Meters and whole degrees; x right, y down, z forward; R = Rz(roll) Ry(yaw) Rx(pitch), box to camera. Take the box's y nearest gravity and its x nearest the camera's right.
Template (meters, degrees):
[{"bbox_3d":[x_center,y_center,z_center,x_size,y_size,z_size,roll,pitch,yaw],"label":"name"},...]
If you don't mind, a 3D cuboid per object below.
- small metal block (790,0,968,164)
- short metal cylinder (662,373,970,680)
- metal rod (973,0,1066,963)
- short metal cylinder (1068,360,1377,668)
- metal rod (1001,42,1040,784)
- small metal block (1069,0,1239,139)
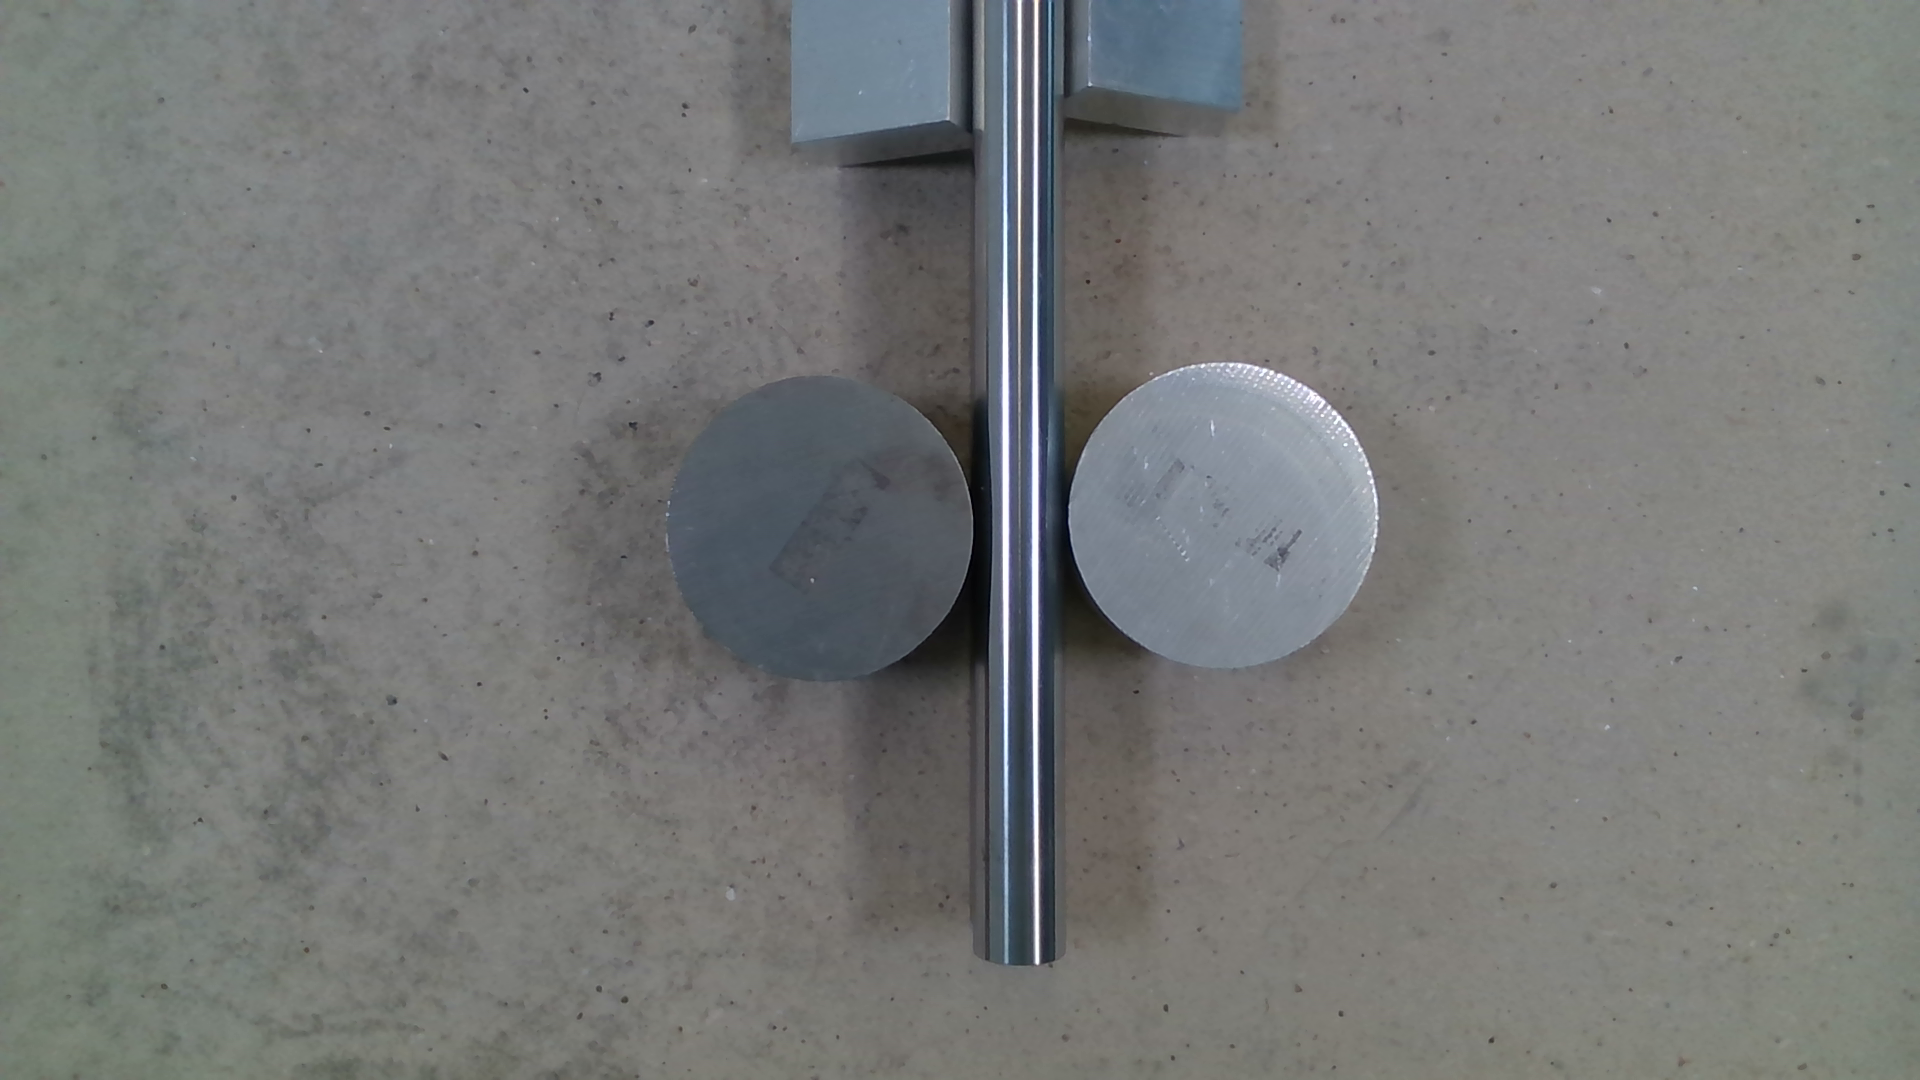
[{"bbox_3d":[-0.019,-0.136,0.385,0.050,0.025,0.050,1,91,27],"label":"small metal block"},{"bbox_3d":[-0.037,-0.003,0.383,0.080,0.050,0.080,0,90,0],"label":"short metal cylinder"},{"bbox_3d":[0.016,-0.040,0.371,0.025,0.025,0.300,0,90,0],"label":"metal rod"},{"bbox_3d":[0.069,-0.007,0.383,0.080,0.050,0.080,0,90,0],"label":"short metal cylinder"},{"bbox_3d":[0.015,-0.040,0.395,0.025,0.025,0.300,0,90,0],"label":"metal rod"},{"bbox_3d":[0.050,-0.144,0.386,0.050,0.025,0.050,0,90,-27],"label":"small metal block"}]
